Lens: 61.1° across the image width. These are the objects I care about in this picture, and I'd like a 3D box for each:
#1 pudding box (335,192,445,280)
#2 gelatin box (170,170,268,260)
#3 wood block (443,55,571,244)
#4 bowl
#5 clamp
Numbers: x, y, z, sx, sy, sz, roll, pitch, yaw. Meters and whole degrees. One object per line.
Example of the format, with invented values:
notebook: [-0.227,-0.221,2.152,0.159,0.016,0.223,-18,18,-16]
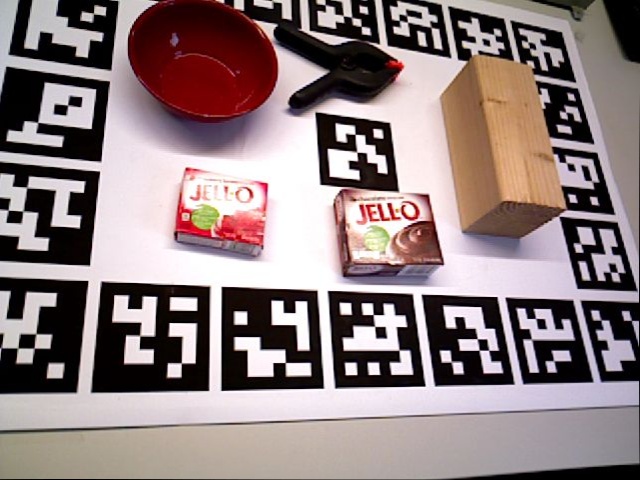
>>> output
pudding box: [0.075,-0.003,0.600,0.112,0.039,0.089,2,72,-16]
gelatin box: [-0.101,-0.025,0.549,0.088,0.031,0.072,11,67,-15]
wood block: [0.224,-0.110,0.666,0.089,0.093,0.204,6,67,-19]
bowl: [-0.135,-0.187,0.598,0.160,0.056,0.160,7,69,-18]
clamp: [0.010,-0.211,0.672,0.162,0.037,0.121,-7,71,-24]
